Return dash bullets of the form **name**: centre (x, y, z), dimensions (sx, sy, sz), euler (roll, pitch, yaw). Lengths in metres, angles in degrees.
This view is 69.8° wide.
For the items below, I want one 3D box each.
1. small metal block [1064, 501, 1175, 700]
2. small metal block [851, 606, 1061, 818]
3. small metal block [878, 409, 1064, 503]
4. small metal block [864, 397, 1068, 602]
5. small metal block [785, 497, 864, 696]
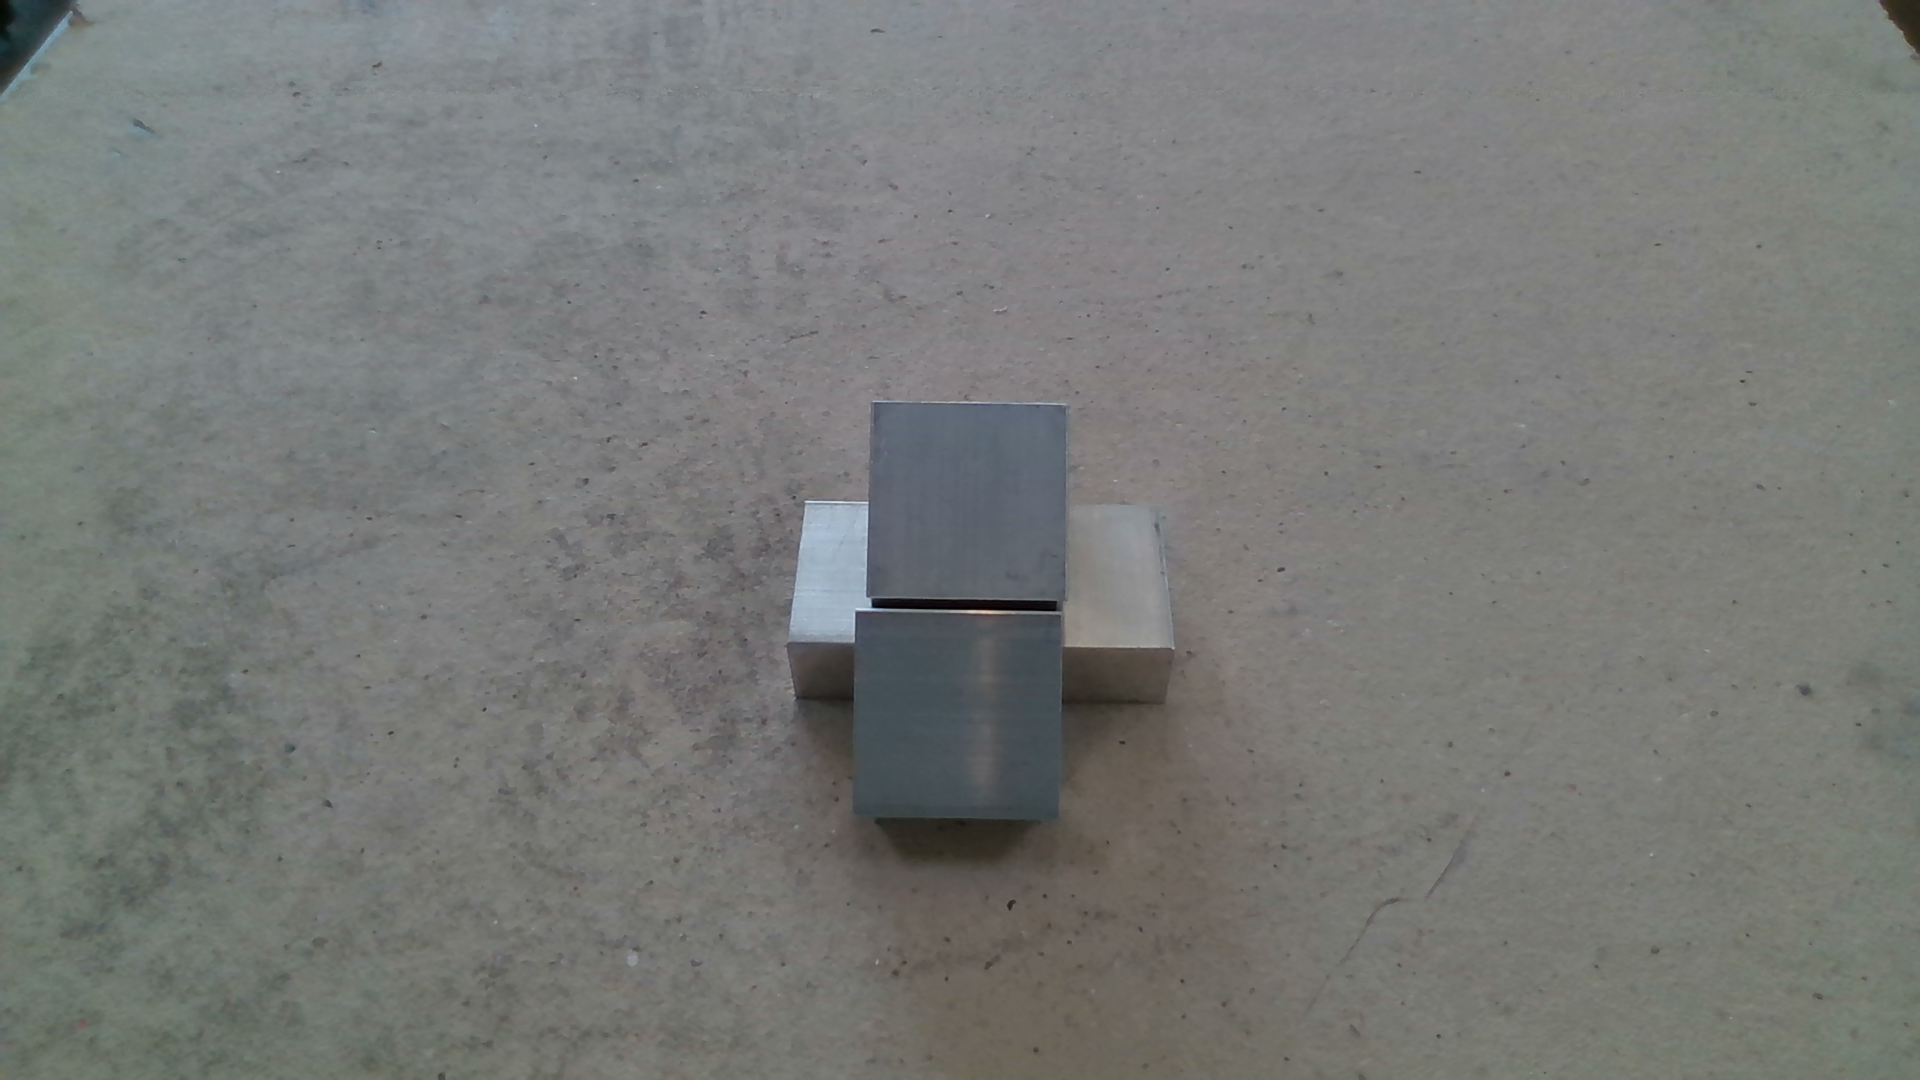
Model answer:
- **small metal block**: centre (0.031, 0.016, 0.380), dimensions (0.050, 0.025, 0.050), euler (1, 50, 0)
- **small metal block**: centre (-0.001, 0.041, 0.343), dimensions (0.050, 0.025, 0.050), euler (1, 90, 1)
- **small metal block**: centre (0.003, -0.023, 0.395), dimensions (0.050, 0.050, 0.025), euler (0, 92, 1)
- **small metal block**: centre (0.002, -0.009, 0.354), dimensions (0.050, 0.025, 0.050), euler (1, 81, 1)
- **small metal block**: centre (-0.020, 0.015, 0.381), dimensions (0.050, 0.025, 0.050), euler (1, 50, 0)
